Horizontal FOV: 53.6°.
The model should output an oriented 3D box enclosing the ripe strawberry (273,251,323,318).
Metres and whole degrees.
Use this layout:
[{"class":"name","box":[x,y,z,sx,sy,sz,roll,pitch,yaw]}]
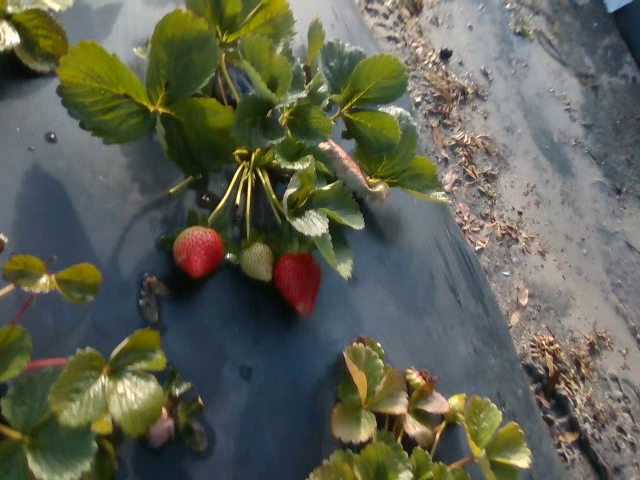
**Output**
[{"class":"ripe strawberry","box":[-0.014,0.040,0.538,0.048,0.065,0.050,-9,-18,9]}]
